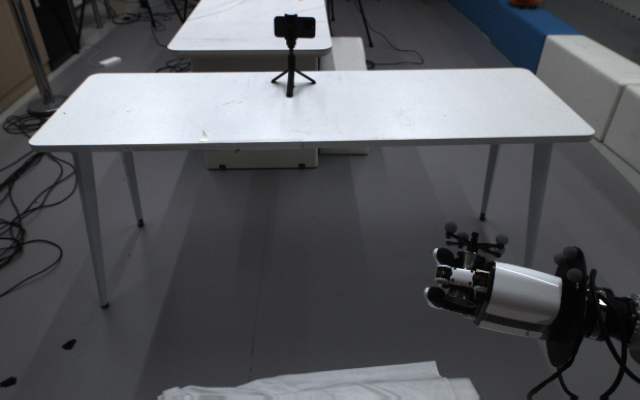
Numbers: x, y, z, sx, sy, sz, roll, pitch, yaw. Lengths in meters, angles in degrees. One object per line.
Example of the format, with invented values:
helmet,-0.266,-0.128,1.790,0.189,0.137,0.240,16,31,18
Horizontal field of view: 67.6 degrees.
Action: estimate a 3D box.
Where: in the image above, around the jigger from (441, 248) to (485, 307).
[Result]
jigger,0.205,0.108,0.671,0.043,0.043,0.071,13,69,15
